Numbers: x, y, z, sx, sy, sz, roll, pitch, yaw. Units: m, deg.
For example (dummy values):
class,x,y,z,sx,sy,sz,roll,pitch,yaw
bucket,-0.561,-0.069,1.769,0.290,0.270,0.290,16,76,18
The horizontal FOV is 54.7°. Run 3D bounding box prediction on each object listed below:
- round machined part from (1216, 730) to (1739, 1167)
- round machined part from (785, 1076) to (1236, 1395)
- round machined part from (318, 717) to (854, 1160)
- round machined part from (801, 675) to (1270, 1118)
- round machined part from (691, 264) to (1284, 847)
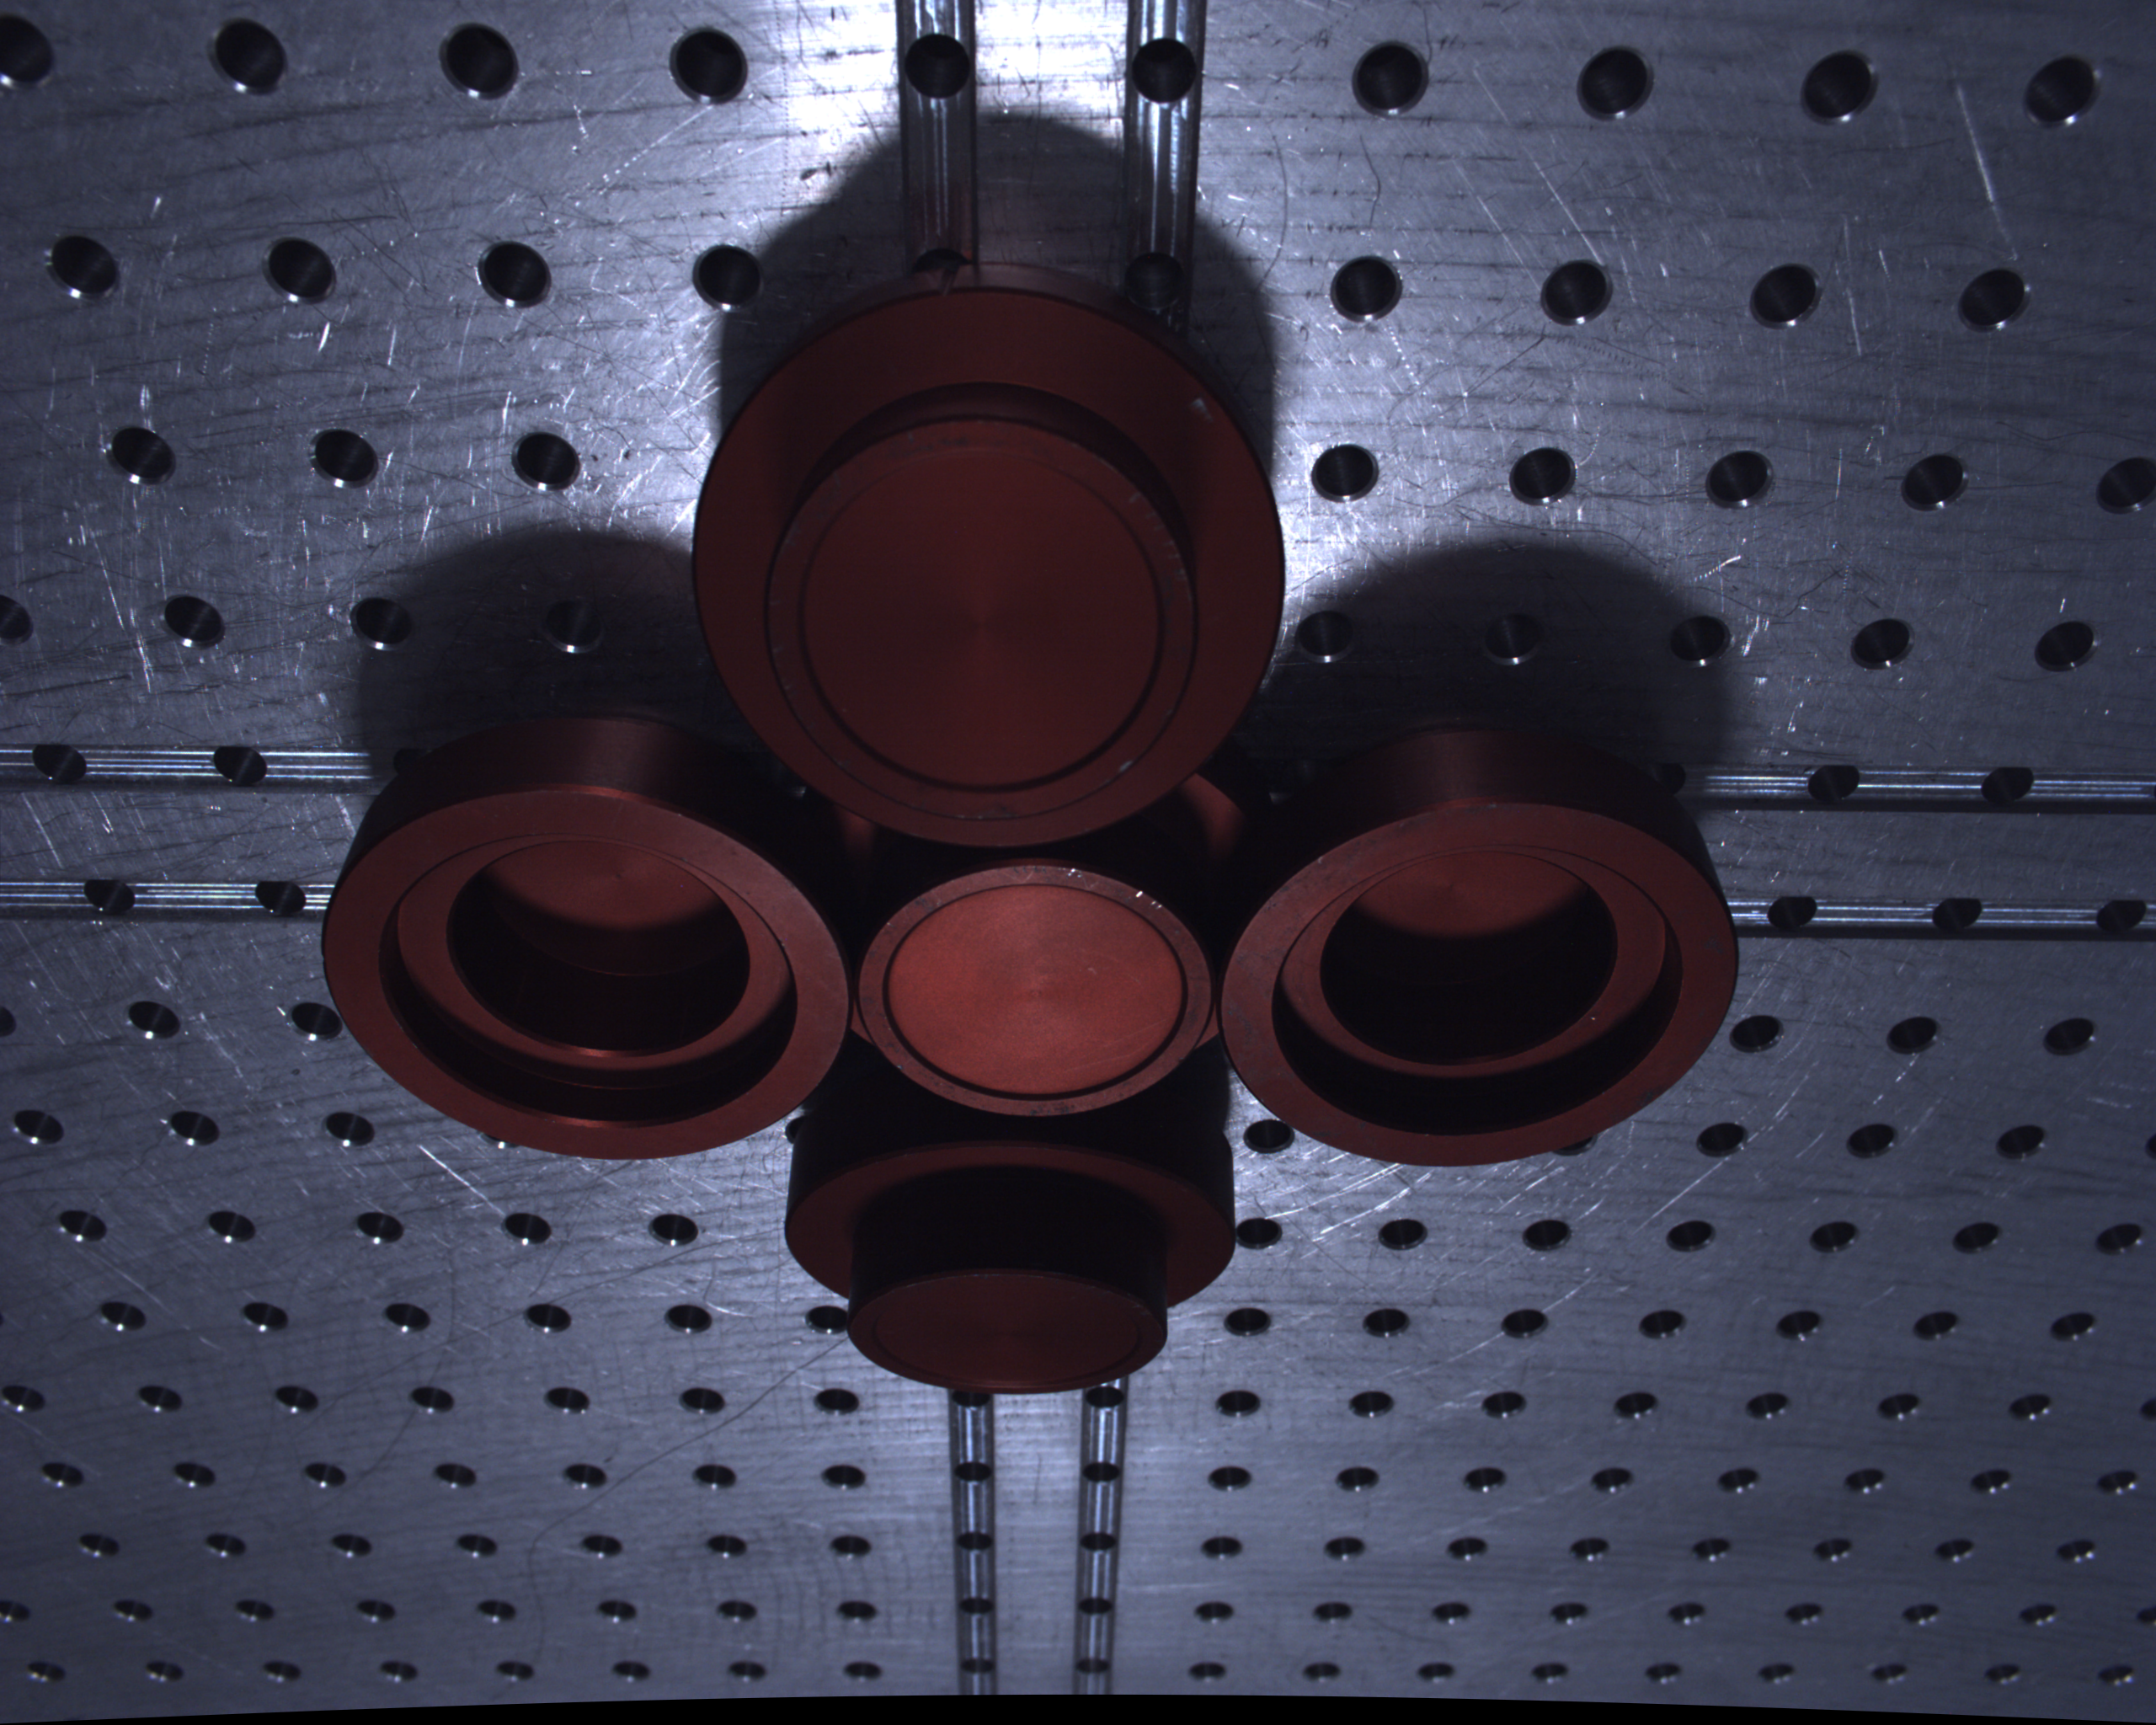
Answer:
class,x,y,z,sx,sy,sz,roll,pitch,yaw
round machined part,0.075,0.012,0.412,0.099,0.042,0.097,-1,130,0
round machined part,-0.015,0.085,0.457,0.099,0.042,0.098,0,145,0
round machined part,-0.092,0.011,0.408,0.099,0.042,0.097,-1,130,0
round machined part,-0.009,0.012,0.410,0.099,0.042,0.097,-1,130,0
round machined part,-0.015,-0.046,0.346,0.099,0.042,0.097,0,116,1
